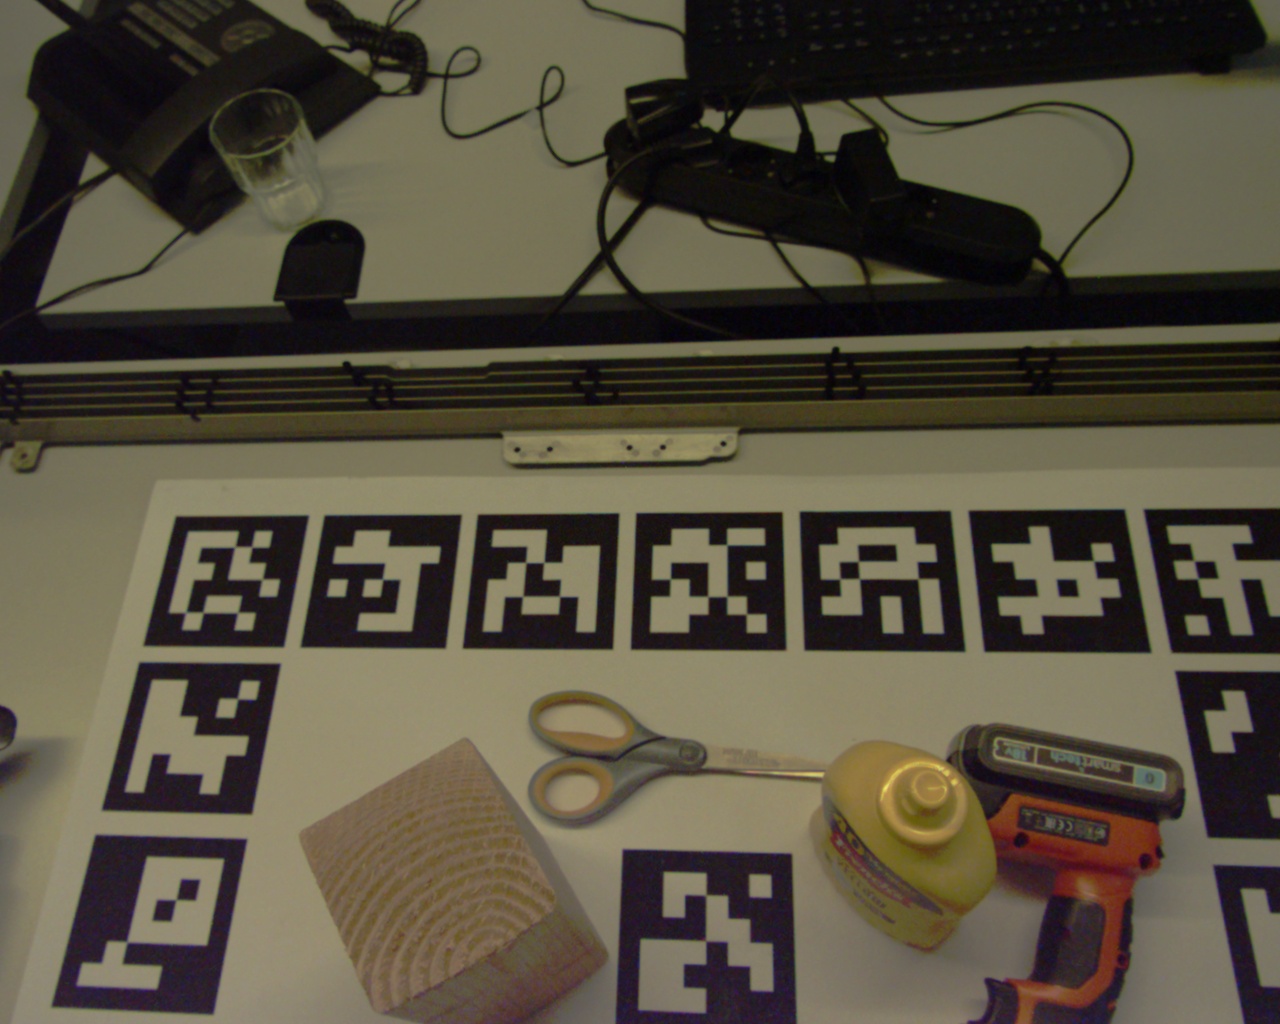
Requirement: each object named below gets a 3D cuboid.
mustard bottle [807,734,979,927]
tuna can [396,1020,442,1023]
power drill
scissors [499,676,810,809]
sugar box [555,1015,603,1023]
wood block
[{"bbox_3d":[0.135,0.168,0.614,0.058,0.190,0.097,-37,67,-12],"label":"mustard bottle"},{"bbox_3d":[-0.123,0.332,0.639,0.086,0.033,0.086,-3,64,5],"label":"tuna can"},{"bbox_3d":[0.186,0.239,0.637,0.186,0.057,0.187,11,72,13],"label":"power drill"},{"bbox_3d":[0.006,0.150,0.728,0.203,0.016,0.088,1,60,8],"label":"scissors"},{"bbox_3d":[0.040,0.312,0.601,0.177,0.092,0.045,11,62,10],"label":"sugar box"},{"bbox_3d":[-0.085,0.202,0.618,0.091,0.205,0.090,-26,65,-7],"label":"wood block"}]
